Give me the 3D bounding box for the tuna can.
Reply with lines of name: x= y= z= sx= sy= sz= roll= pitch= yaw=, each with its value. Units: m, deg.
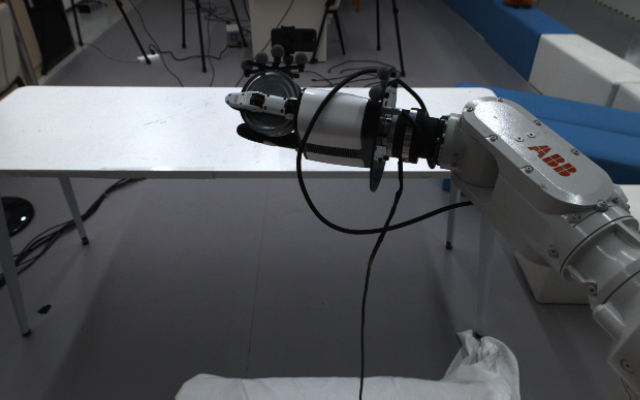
tuna can: x=-0.064 y=-0.130 z=0.657 sx=0.085 sy=0.085 sz=0.034 roll=15 pitch=1 yaw=18
